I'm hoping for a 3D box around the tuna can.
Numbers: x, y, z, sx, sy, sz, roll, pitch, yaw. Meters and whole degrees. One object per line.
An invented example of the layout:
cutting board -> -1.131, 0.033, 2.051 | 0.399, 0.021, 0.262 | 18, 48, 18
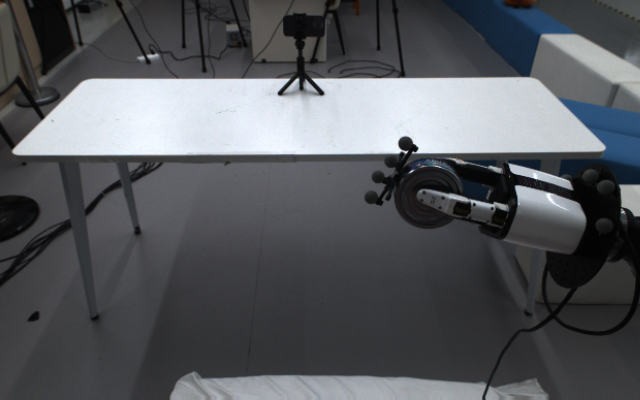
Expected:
tuna can -> 0.138, -0.011, 0.606 | 0.085, 0.085, 0.034 | 3, 20, 1
